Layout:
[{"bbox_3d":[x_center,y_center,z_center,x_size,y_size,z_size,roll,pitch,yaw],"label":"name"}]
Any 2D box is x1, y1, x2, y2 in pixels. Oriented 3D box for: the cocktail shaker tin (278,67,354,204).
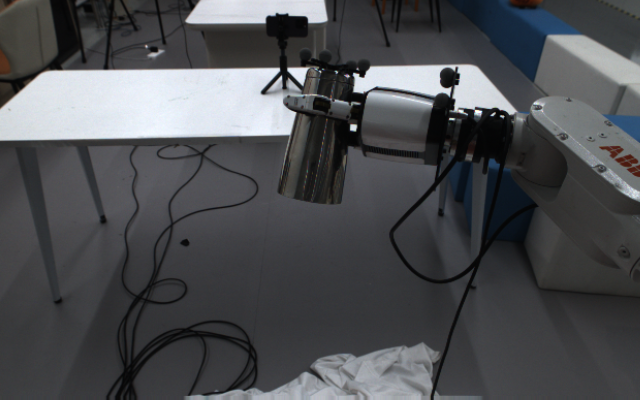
[{"bbox_3d":[0.003,-0.090,0.663,0.093,0.170,0.093,10,9,-2],"label":"cocktail shaker tin"}]
